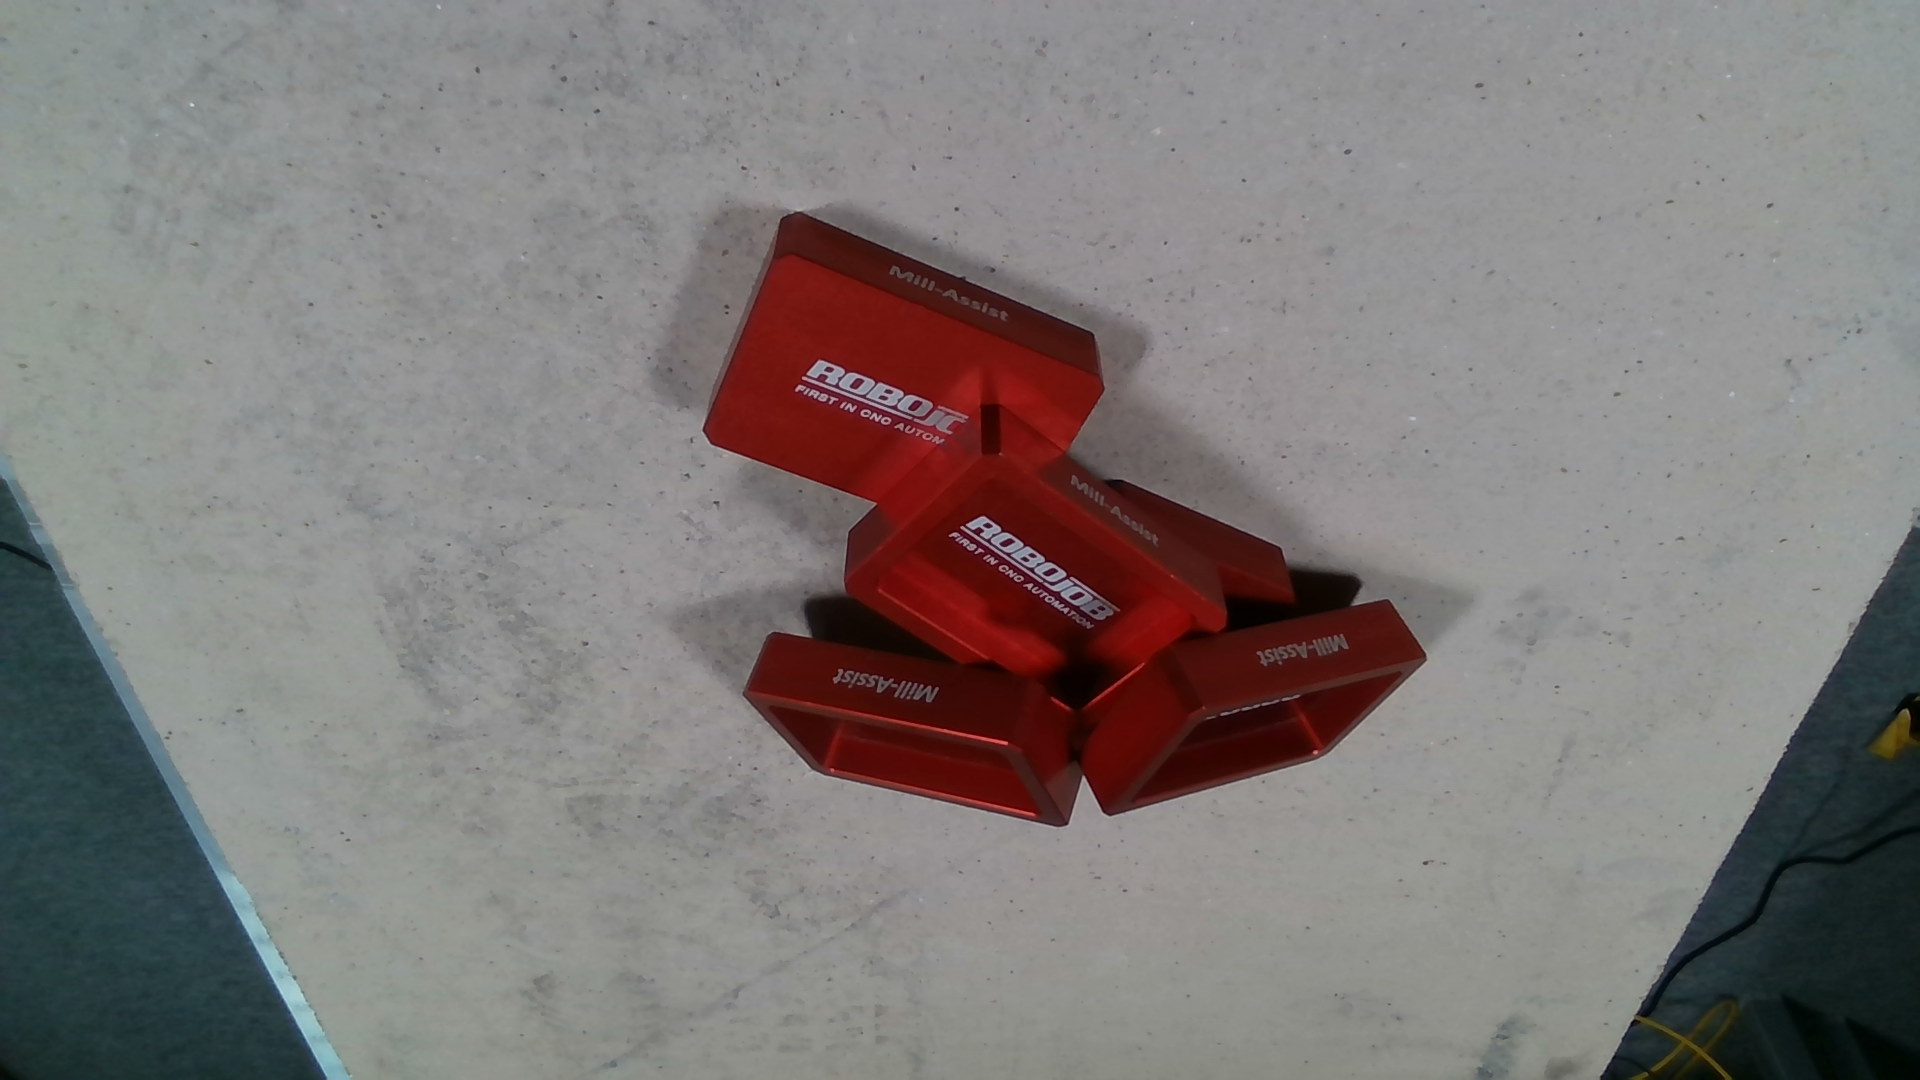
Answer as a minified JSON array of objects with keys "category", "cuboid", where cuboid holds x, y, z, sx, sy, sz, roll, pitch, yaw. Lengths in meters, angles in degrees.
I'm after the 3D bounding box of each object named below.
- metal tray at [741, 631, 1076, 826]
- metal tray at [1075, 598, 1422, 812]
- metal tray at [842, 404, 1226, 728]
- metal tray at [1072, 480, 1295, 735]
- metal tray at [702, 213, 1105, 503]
[{"category":"metal tray","cuboid":[-0.019,0.083,0.601,0.130,0.030,0.090,8,151,24]},{"category":"metal tray","cuboid":[0.123,0.071,0.591,0.130,0.030,0.090,-8,147,-29]},{"category":"metal tray","cuboid":[0.030,0.015,0.549,0.130,0.030,0.090,34,122,-25]},{"category":"metal tray","cuboid":[0.074,0.042,0.612,0.090,0.030,0.130,21,127,-17]},{"category":"metal tray","cuboid":[-0.022,-0.058,0.526,0.130,0.030,0.090,19,127,-16]}]
